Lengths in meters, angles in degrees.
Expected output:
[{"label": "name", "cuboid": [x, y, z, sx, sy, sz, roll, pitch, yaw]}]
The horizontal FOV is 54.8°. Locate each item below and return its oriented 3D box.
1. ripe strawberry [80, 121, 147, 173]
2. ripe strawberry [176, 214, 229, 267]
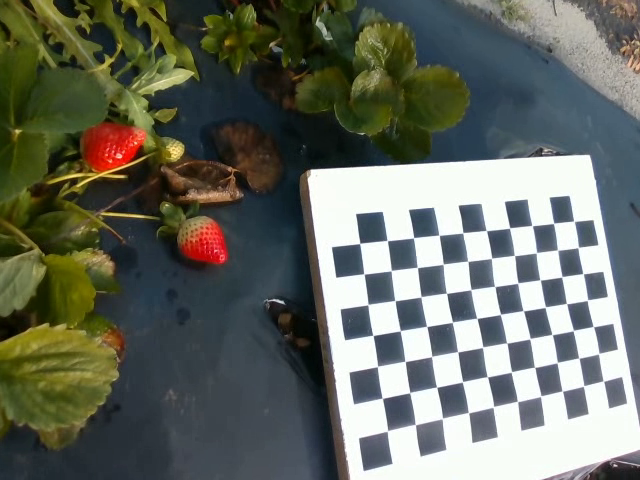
[{"label": "ripe strawberry", "cuboid": [-0.139, -0.066, 0.411, 0.048, 0.040, 0.031, -21, -1, 19]}, {"label": "ripe strawberry", "cuboid": [-0.081, 0.002, 0.426, 0.035, 0.043, 0.029, -46, 5, -22]}]
